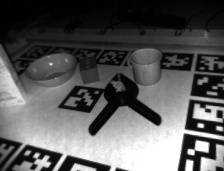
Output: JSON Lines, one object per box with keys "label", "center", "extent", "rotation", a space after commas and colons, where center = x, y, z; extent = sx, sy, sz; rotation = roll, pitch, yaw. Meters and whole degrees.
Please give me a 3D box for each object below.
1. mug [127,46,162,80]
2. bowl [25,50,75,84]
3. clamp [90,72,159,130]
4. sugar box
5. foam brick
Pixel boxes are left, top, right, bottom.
{"label": "mug", "center": [0.089, -0.075, 0.640], "extent": [0.115, 0.082, 0.094], "rotation": [29, 54, 34]}
{"label": "bowl", "center": [-0.193, -0.054, 0.703], "extent": [0.161, 0.055, 0.161], "rotation": [-5, 40, 5]}
{"label": "clamp", "center": [0.022, 0.019, 0.573], "extent": [0.165, 0.037, 0.201], "rotation": [-11, 40, 3]}
{"label": "sugar box", "center": [-0.314, -0.020, 0.595], "extent": [0.093, 0.178, 0.045], "rotation": [-11, 42, -1]}
{"label": "foam brick", "center": [-0.073, -0.056, 0.690], "extent": [0.053, 0.052, 0.077], "rotation": [-13, 41, -1]}
